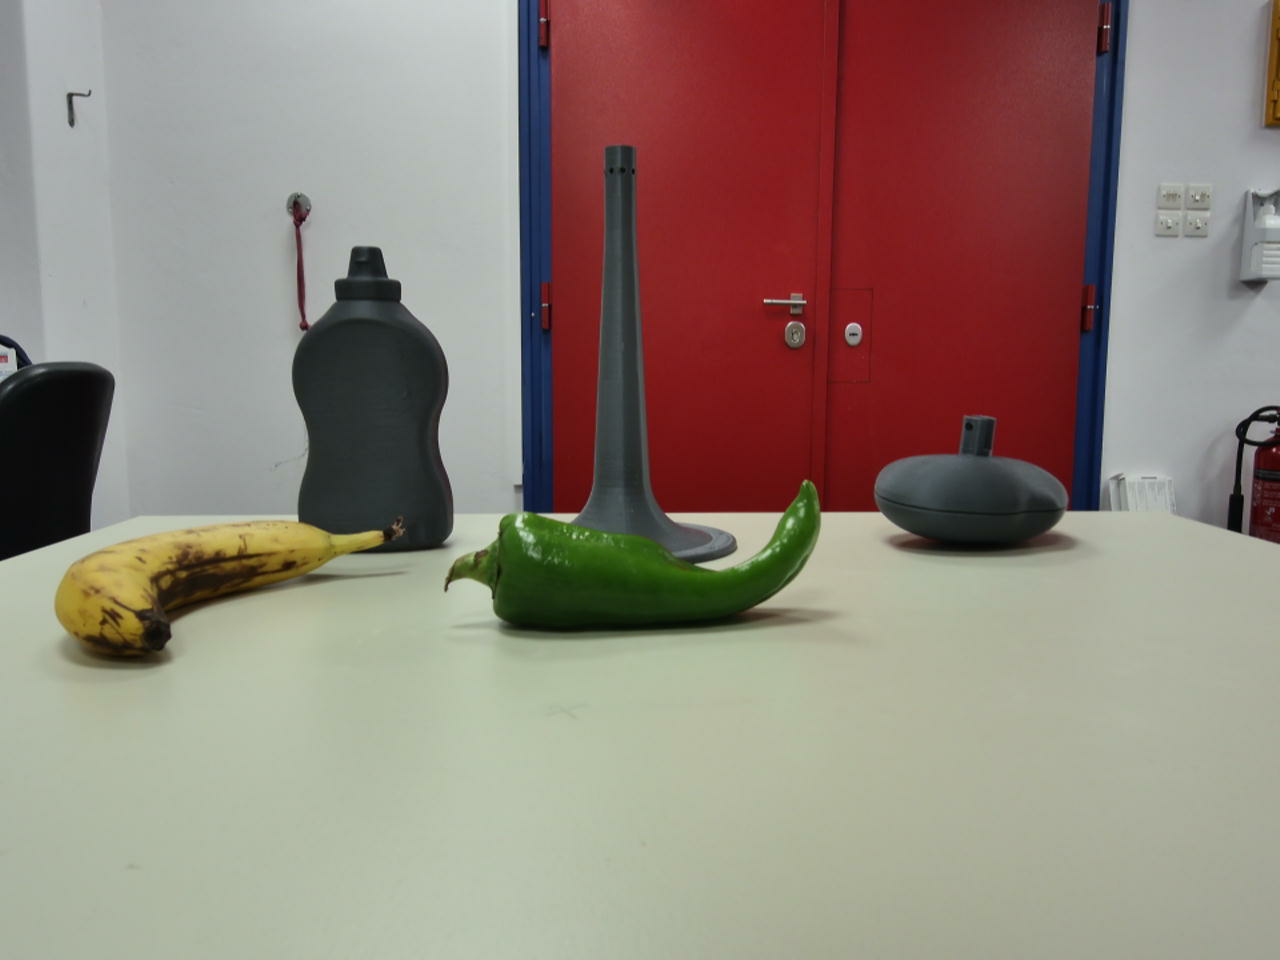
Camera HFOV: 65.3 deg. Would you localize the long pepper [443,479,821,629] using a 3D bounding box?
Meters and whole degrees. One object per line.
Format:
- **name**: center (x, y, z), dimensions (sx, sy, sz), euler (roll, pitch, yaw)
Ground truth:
- **long pepper**: center (-0.002, 0.034, 0.458), dimensions (0.175, 0.065, 0.058), euler (-1, 4, -2)
